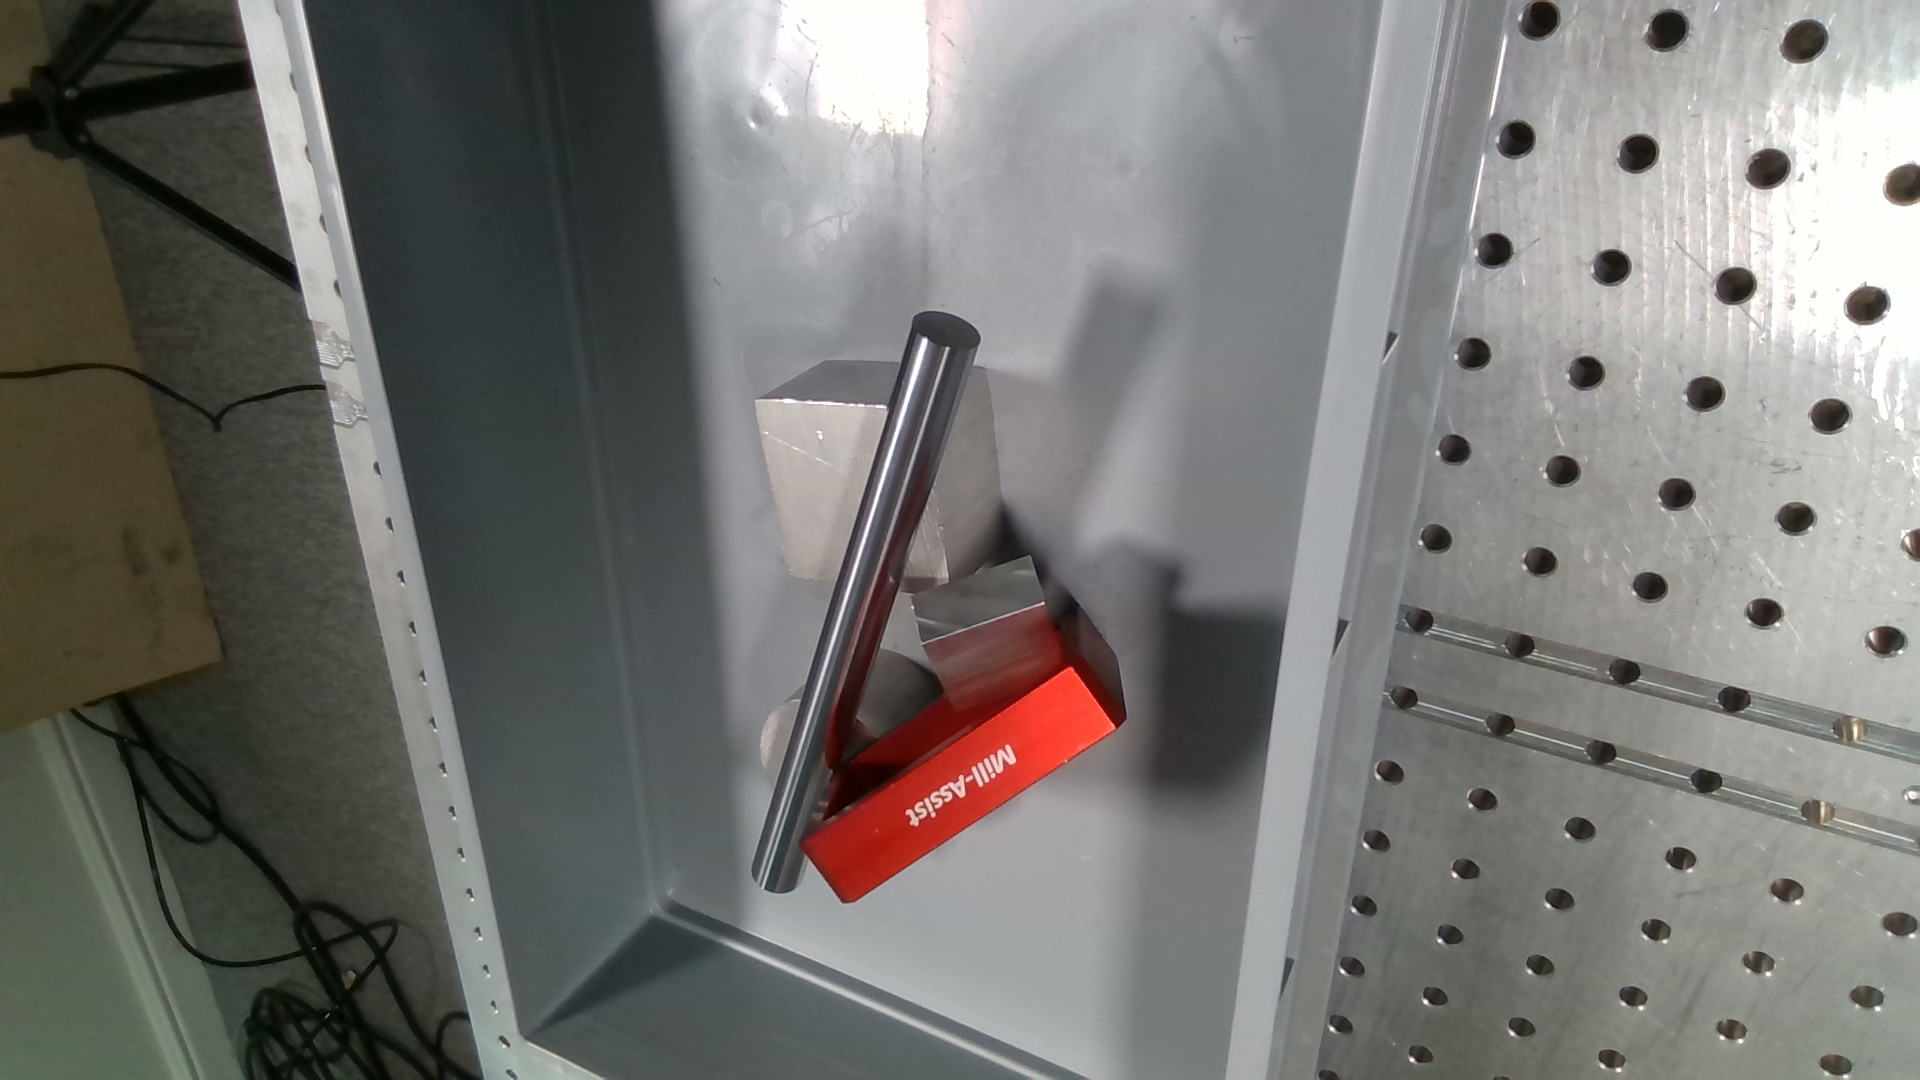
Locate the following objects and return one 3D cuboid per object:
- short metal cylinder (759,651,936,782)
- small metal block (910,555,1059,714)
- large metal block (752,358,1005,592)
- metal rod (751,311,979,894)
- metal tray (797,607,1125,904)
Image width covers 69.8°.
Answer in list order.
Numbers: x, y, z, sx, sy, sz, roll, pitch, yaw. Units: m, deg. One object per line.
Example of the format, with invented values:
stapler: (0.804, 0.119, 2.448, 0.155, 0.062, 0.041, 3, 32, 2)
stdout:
short metal cylinder: (-0.047, 0.097, 0.644, 0.080, 0.050, 0.080, 14, 122, 25)
small metal block: (0.013, 0.038, 0.548, 0.050, 0.025, 0.050, -19, 138, 4)
large metal block: (-0.032, -0.027, 0.567, 0.080, 0.050, 0.080, 7, 118, 29)
metal rod: (-0.046, 0.042, 0.564, 0.025, 0.025, 0.301, 30, 127, 14)
metal tray: (0.002, 0.083, 0.549, 0.130, 0.090, 0.030, -35, 96, 9)
